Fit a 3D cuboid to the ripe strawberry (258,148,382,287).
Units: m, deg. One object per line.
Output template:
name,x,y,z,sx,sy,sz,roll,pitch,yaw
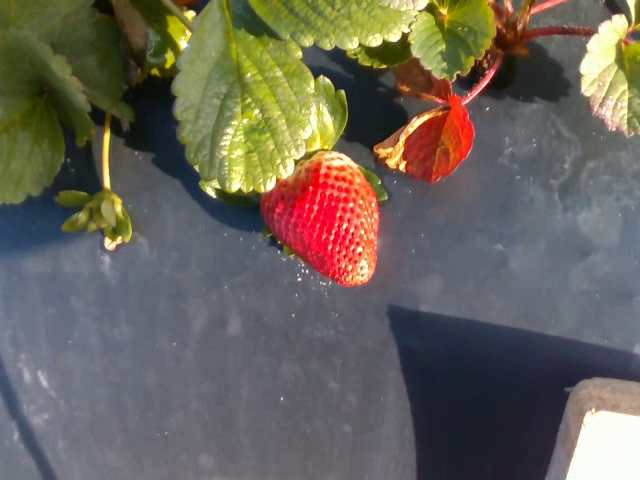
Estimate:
ripe strawberry,0.001,-0.004,0.204,0.040,0.056,0.040,15,-49,-46
